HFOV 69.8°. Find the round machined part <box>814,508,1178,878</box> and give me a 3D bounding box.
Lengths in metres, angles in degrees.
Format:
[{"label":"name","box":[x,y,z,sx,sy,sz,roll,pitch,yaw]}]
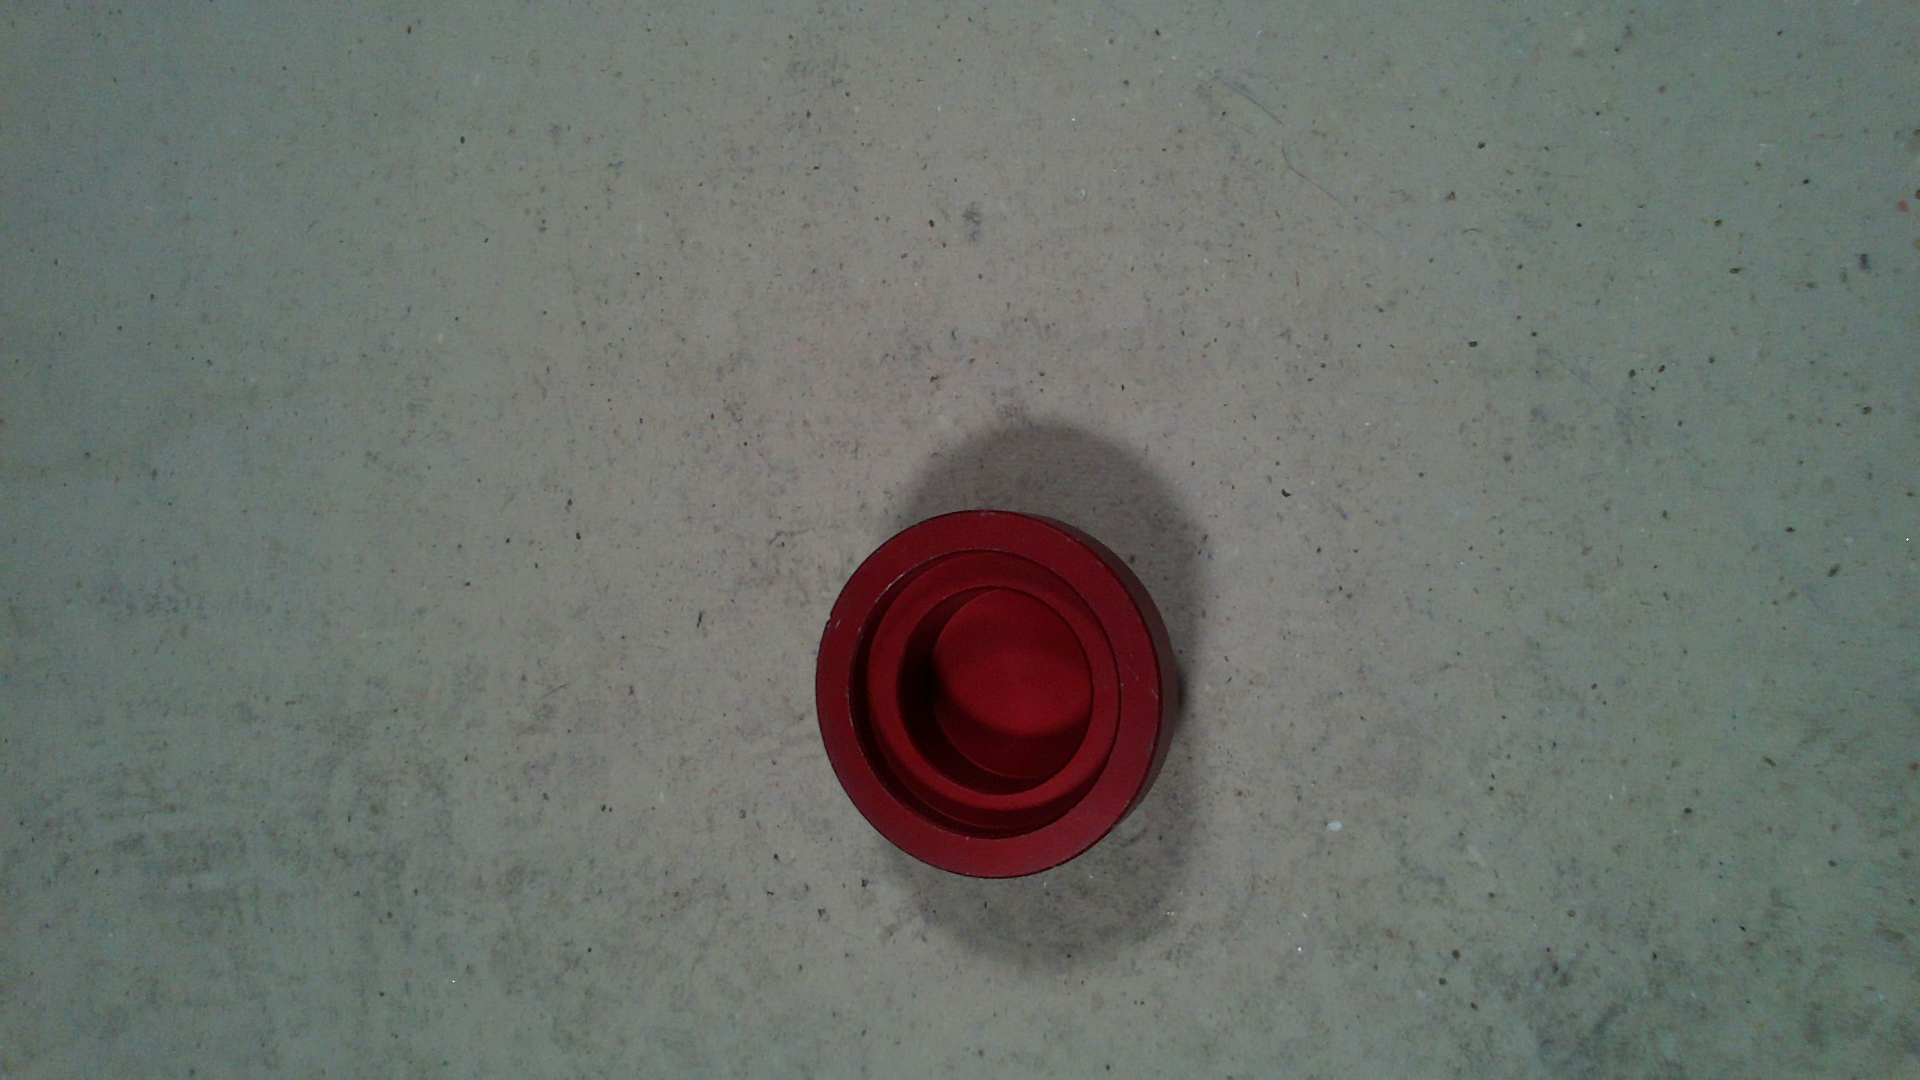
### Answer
[{"label":"round machined part","box":[0.012,0.040,0.383,0.098,0.042,0.098,0,90,20]}]
